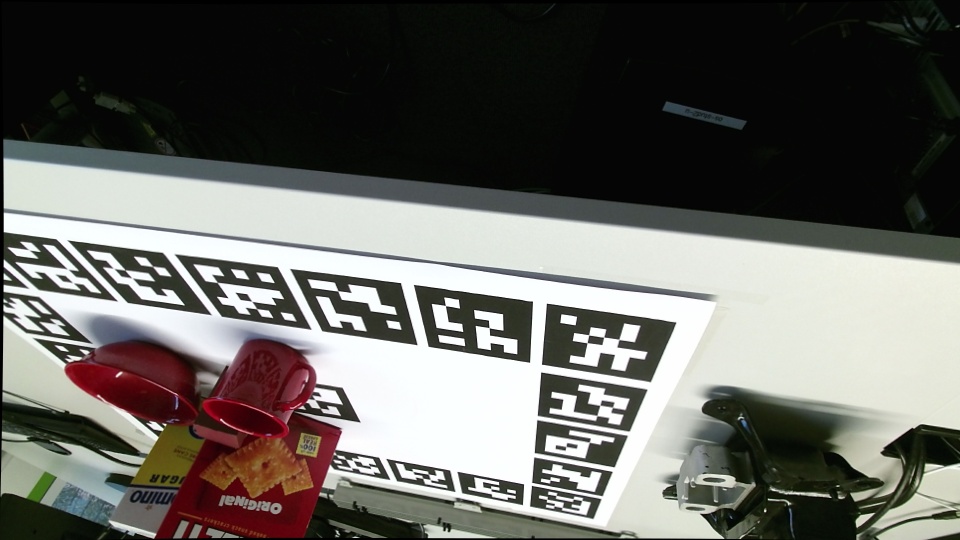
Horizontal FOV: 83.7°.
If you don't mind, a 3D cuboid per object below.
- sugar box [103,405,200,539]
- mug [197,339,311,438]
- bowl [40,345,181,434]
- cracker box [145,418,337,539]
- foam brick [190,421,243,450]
[{"bbox_3d":[-0.410,0.276,0.728,0.093,0.175,0.045,20,140,-8],"label":"sugar box"},{"bbox_3d":[-0.236,0.127,0.573,0.117,0.081,0.093,-1,146,14],"label":"mug"},{"bbox_3d":[-0.433,0.139,0.655,0.162,0.055,0.162,8,139,7],"label":"bowl"},{"bbox_3d":[-0.304,0.292,0.691,0.165,0.212,0.072,26,141,-13],"label":"cracker box"},{"bbox_3d":[-0.311,0.171,0.662,0.053,0.077,0.051,16,141,-4],"label":"foam brick"}]
